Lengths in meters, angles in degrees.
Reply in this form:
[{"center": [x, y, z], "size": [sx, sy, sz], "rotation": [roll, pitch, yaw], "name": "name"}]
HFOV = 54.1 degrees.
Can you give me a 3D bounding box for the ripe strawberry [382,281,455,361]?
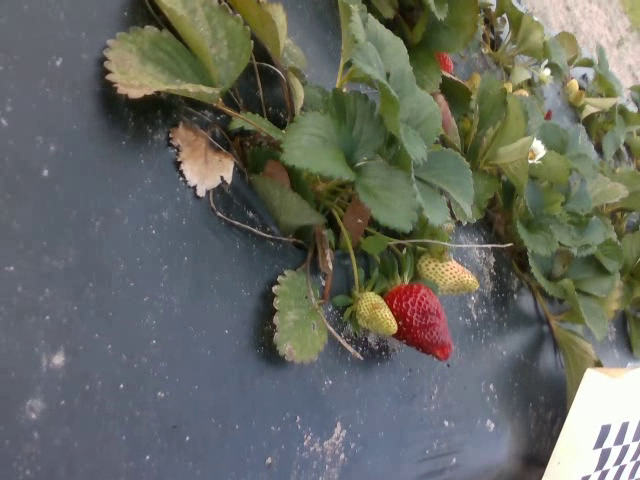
[{"center": [0.061, 0.054, 0.371], "size": [0.046, 0.046, 0.059], "rotation": [5, 34, -42], "name": "ripe strawberry"}]
